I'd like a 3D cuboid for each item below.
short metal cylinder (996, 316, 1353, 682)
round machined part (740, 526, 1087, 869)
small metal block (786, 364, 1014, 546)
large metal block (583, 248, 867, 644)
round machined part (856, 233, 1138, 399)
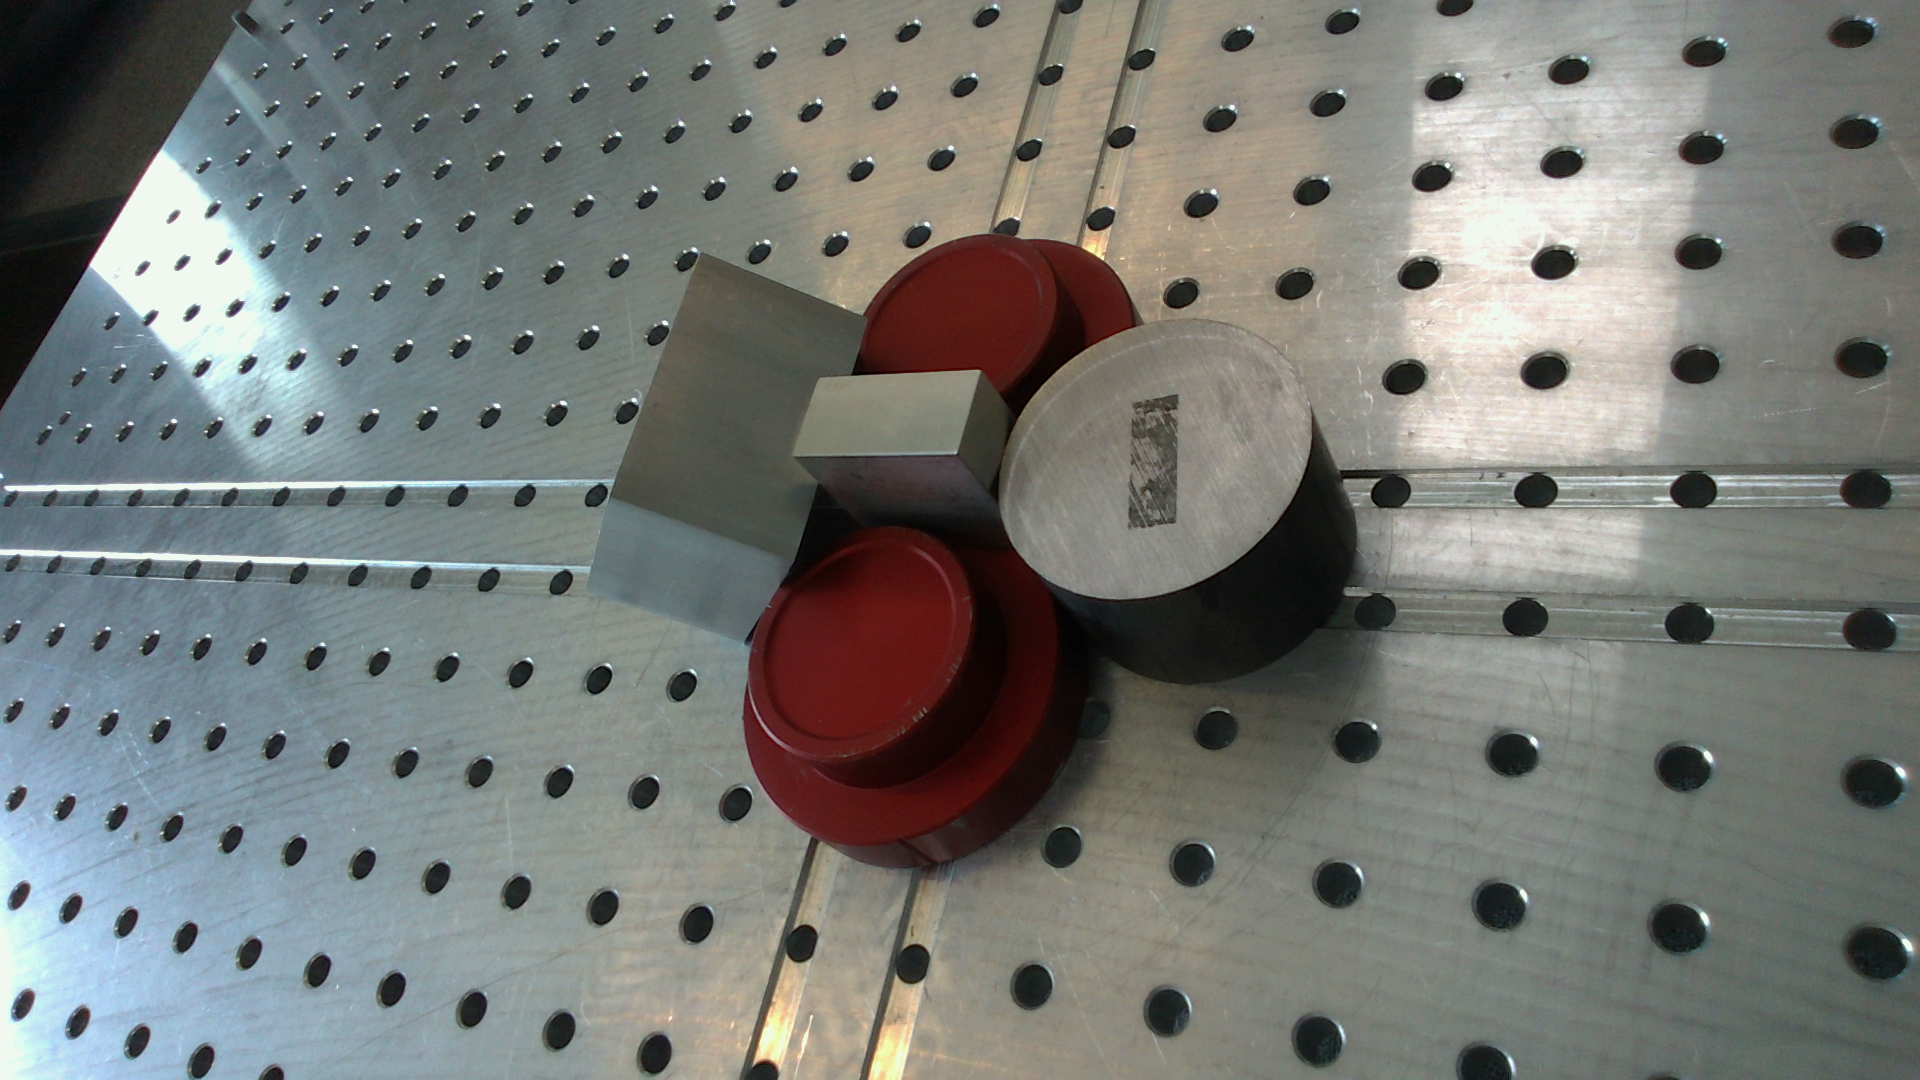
[{"bbox_3d":[0.056,-0.010,0.355,0.080,0.050,0.080,-13,56,21],"label":"short metal cylinder"},{"bbox_3d":[-0.019,0.036,0.374,0.098,0.042,0.098,-13,56,21],"label":"round machined part"},{"bbox_3d":[-0.010,-0.022,0.371,0.050,0.050,0.025,1,62,29],"label":"small metal block"},{"bbox_3d":[-0.071,-0.024,0.407,0.050,0.080,0.080,19,64,-12],"label":"large metal block"},{"bbox_3d":[0.006,-0.053,0.416,0.098,0.042,0.098,-13,56,21],"label":"round machined part"}]
